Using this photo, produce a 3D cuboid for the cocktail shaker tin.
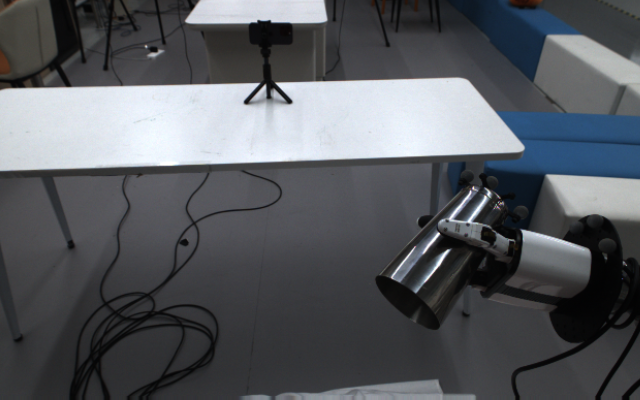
[{"bbox_3d":[0.156,0.058,0.591,0.093,0.093,0.170,32,67,35],"label":"cocktail shaker tin"}]
